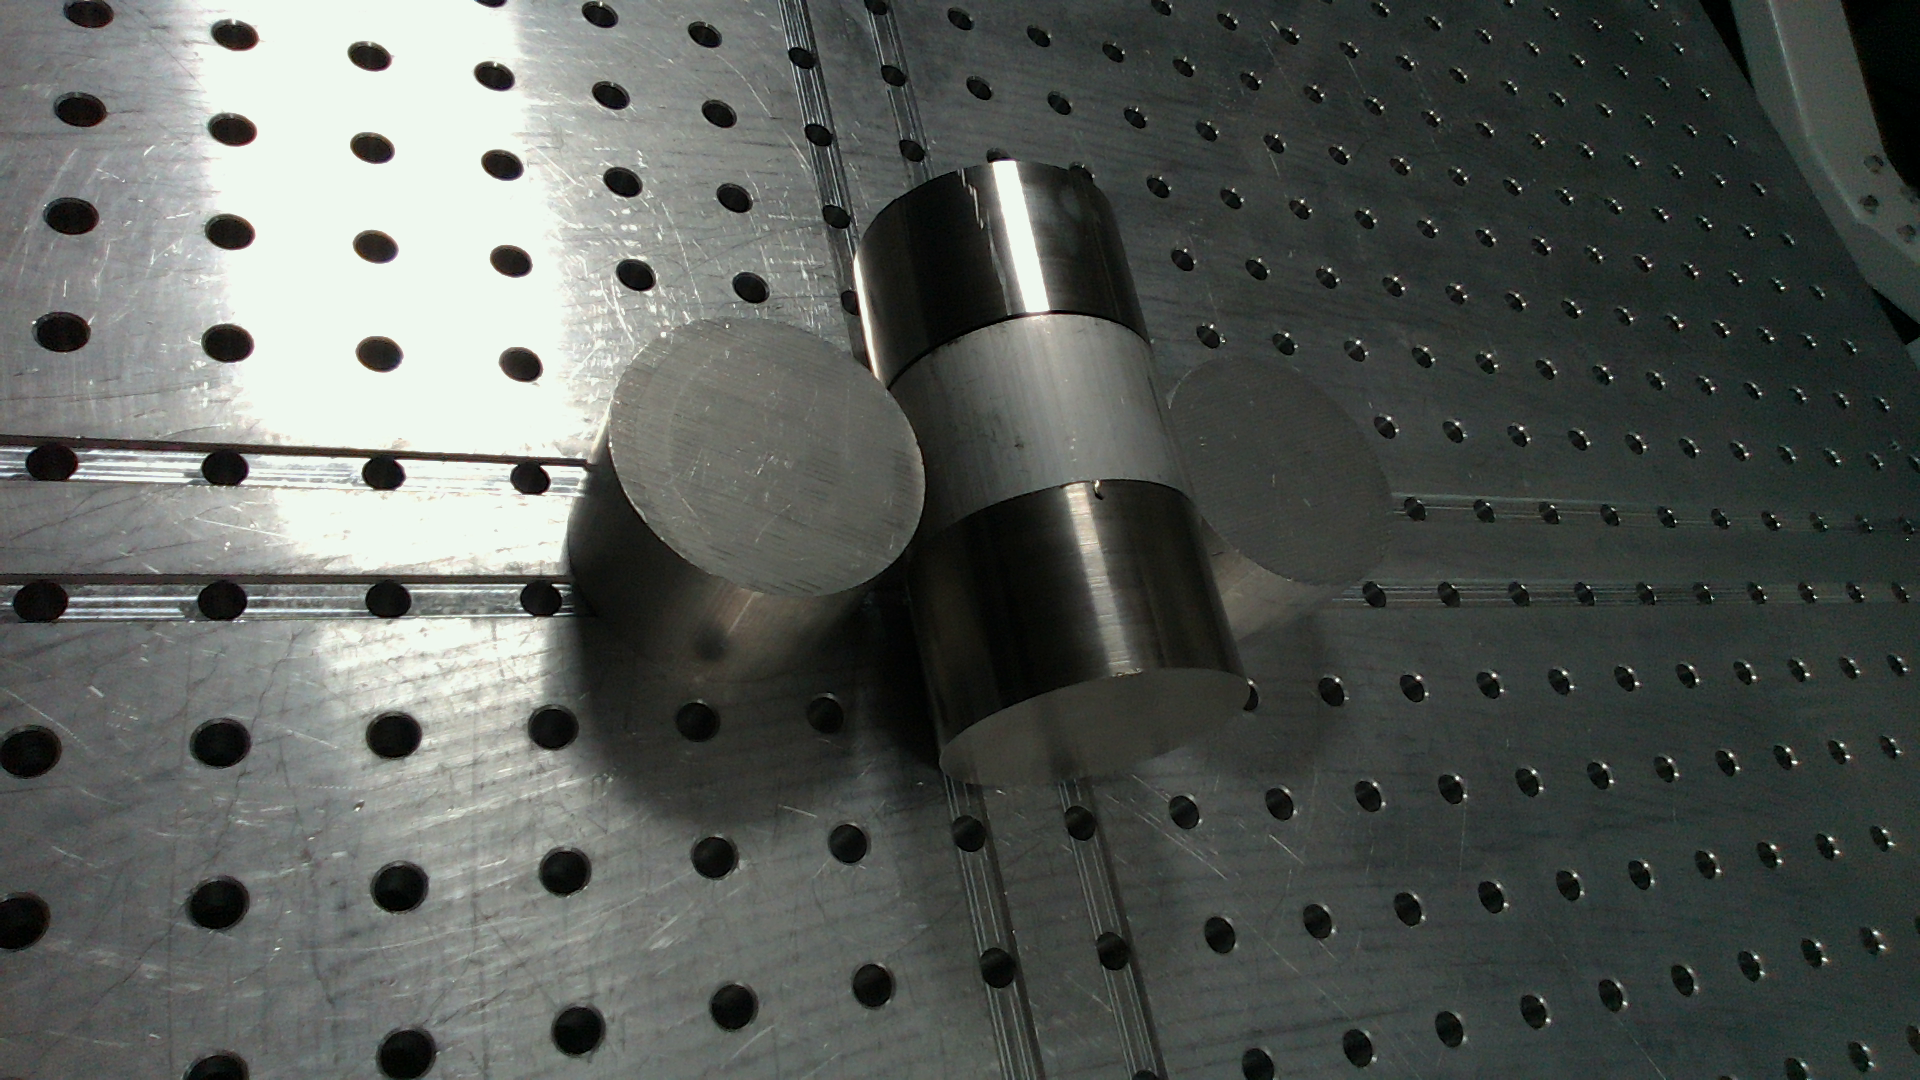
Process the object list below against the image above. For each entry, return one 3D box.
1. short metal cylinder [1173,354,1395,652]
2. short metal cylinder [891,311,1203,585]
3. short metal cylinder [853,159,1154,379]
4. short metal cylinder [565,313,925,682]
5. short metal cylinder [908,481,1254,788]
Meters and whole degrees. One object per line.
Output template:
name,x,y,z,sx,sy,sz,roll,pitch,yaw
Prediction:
short metal cylinder,0.086,-0.010,0.429,0.080,0.050,0.080,14,56,-21
short metal cylinder,0.021,-0.018,0.380,0.080,0.080,0.050,2,61,-27
short metal cylinder,0.012,-0.064,0.402,0.080,0.080,0.050,3,60,-27
short metal cylinder,-0.056,-0.010,0.352,0.080,0.050,0.080,14,56,-21
short metal cylinder,0.030,0.027,0.356,0.080,0.080,0.050,1,61,-28
